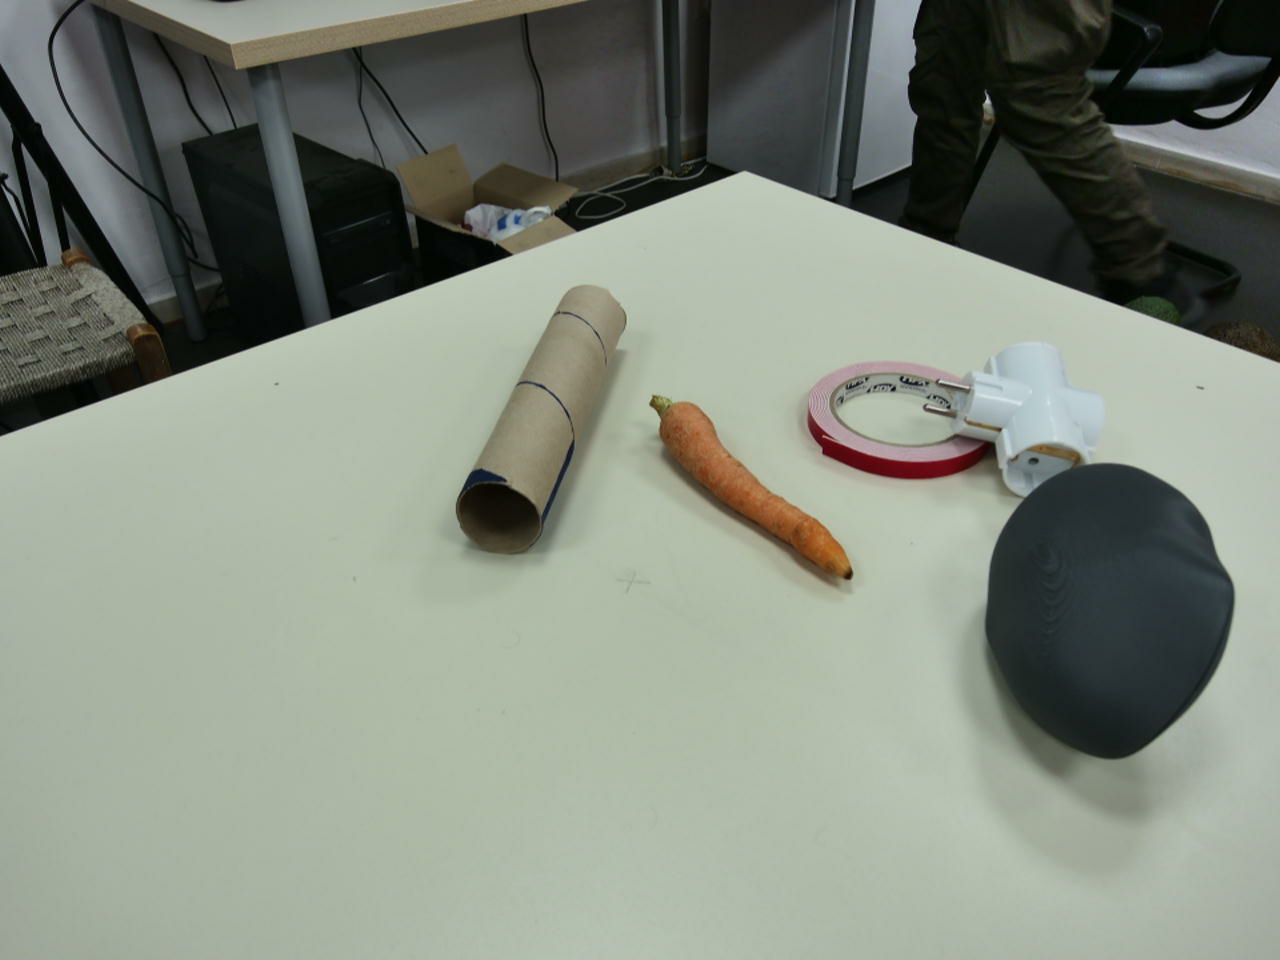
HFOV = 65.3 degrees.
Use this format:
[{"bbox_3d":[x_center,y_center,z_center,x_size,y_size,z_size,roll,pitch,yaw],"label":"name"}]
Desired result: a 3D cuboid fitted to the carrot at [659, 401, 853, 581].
[{"bbox_3d":[0.056,0.000,0.549,0.030,0.032,0.173,-20,40,-24],"label":"carrot"}]
